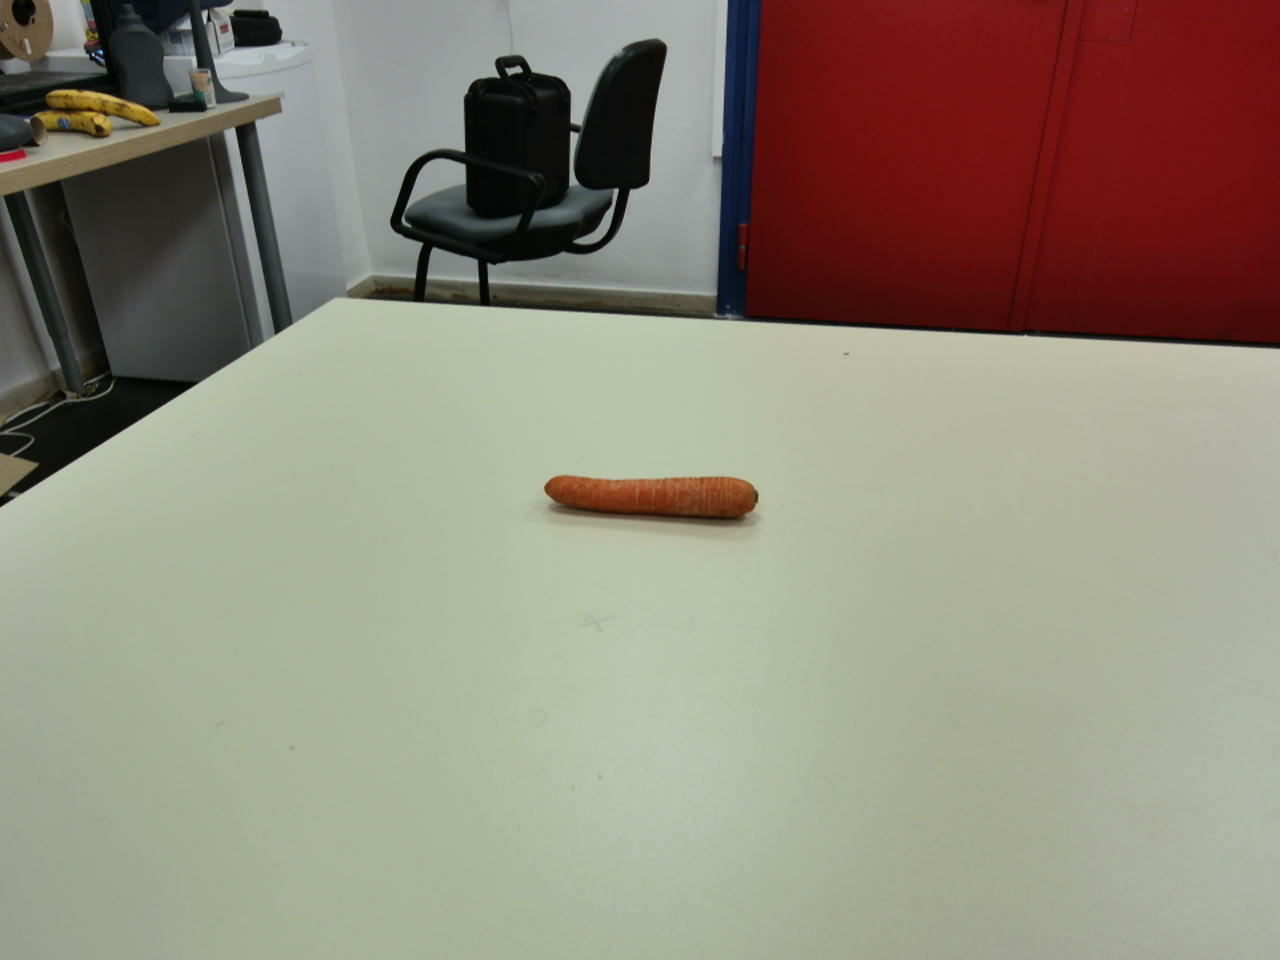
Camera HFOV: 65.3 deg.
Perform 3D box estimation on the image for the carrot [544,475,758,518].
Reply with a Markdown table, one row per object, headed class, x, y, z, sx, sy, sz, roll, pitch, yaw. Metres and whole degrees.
| class | x | y | z | sx | sy | sz | roll | pitch | yaw |
| --- | --- | --- | --- | --- | --- | --- | --- | --- | --- |
| carrot | 0.005 | 0.008 | 0.568 | 0.122 | 0.023 | 0.024 | 4 | 26 | 8 |
